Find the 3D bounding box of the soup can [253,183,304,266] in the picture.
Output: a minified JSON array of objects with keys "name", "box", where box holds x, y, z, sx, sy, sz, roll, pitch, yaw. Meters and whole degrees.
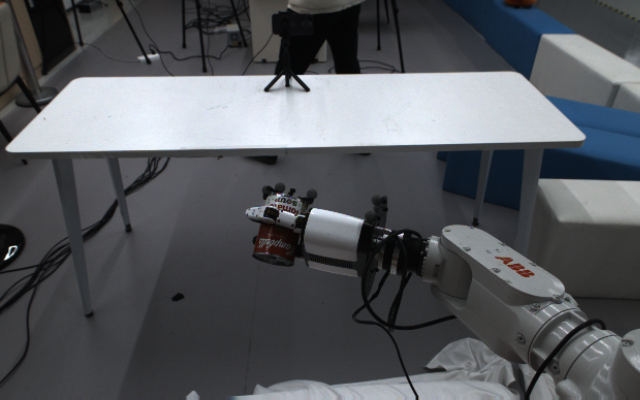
[{"name":"soup can","box":[-0.063,0.048,0.768,0.067,0.067,0.101,9,71,9]}]
